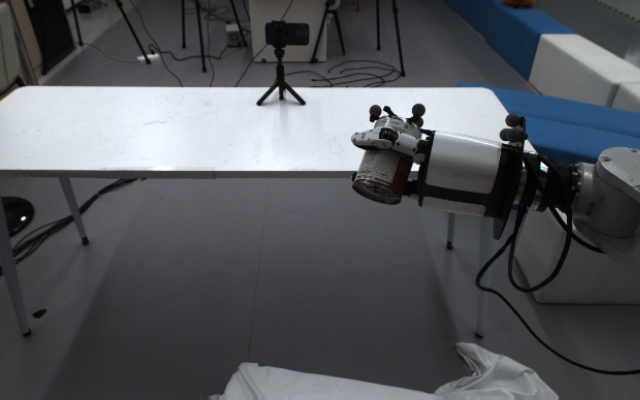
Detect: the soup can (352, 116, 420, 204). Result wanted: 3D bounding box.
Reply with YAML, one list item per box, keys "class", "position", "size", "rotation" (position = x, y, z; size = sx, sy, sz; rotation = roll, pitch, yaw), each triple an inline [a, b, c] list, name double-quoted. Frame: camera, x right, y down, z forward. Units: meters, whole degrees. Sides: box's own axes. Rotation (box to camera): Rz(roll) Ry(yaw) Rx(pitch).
- class: "soup can"
  position: [0.092, -0.054, 0.652]
  size: [0.067, 0.067, 0.101]
  rotation: [15, 74, 18]
